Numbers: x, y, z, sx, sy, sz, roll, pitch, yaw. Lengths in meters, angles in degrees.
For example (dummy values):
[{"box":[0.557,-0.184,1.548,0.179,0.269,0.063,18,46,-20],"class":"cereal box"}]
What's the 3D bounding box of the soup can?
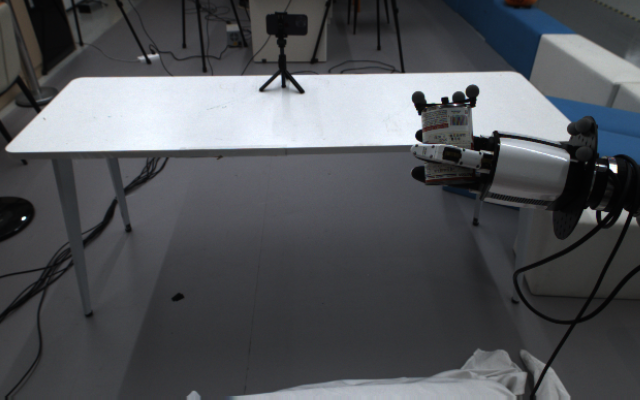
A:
[{"box":[0.174,-0.073,0.650,0.067,0.101,0.067,-3,-1,0],"class":"soup can"}]
